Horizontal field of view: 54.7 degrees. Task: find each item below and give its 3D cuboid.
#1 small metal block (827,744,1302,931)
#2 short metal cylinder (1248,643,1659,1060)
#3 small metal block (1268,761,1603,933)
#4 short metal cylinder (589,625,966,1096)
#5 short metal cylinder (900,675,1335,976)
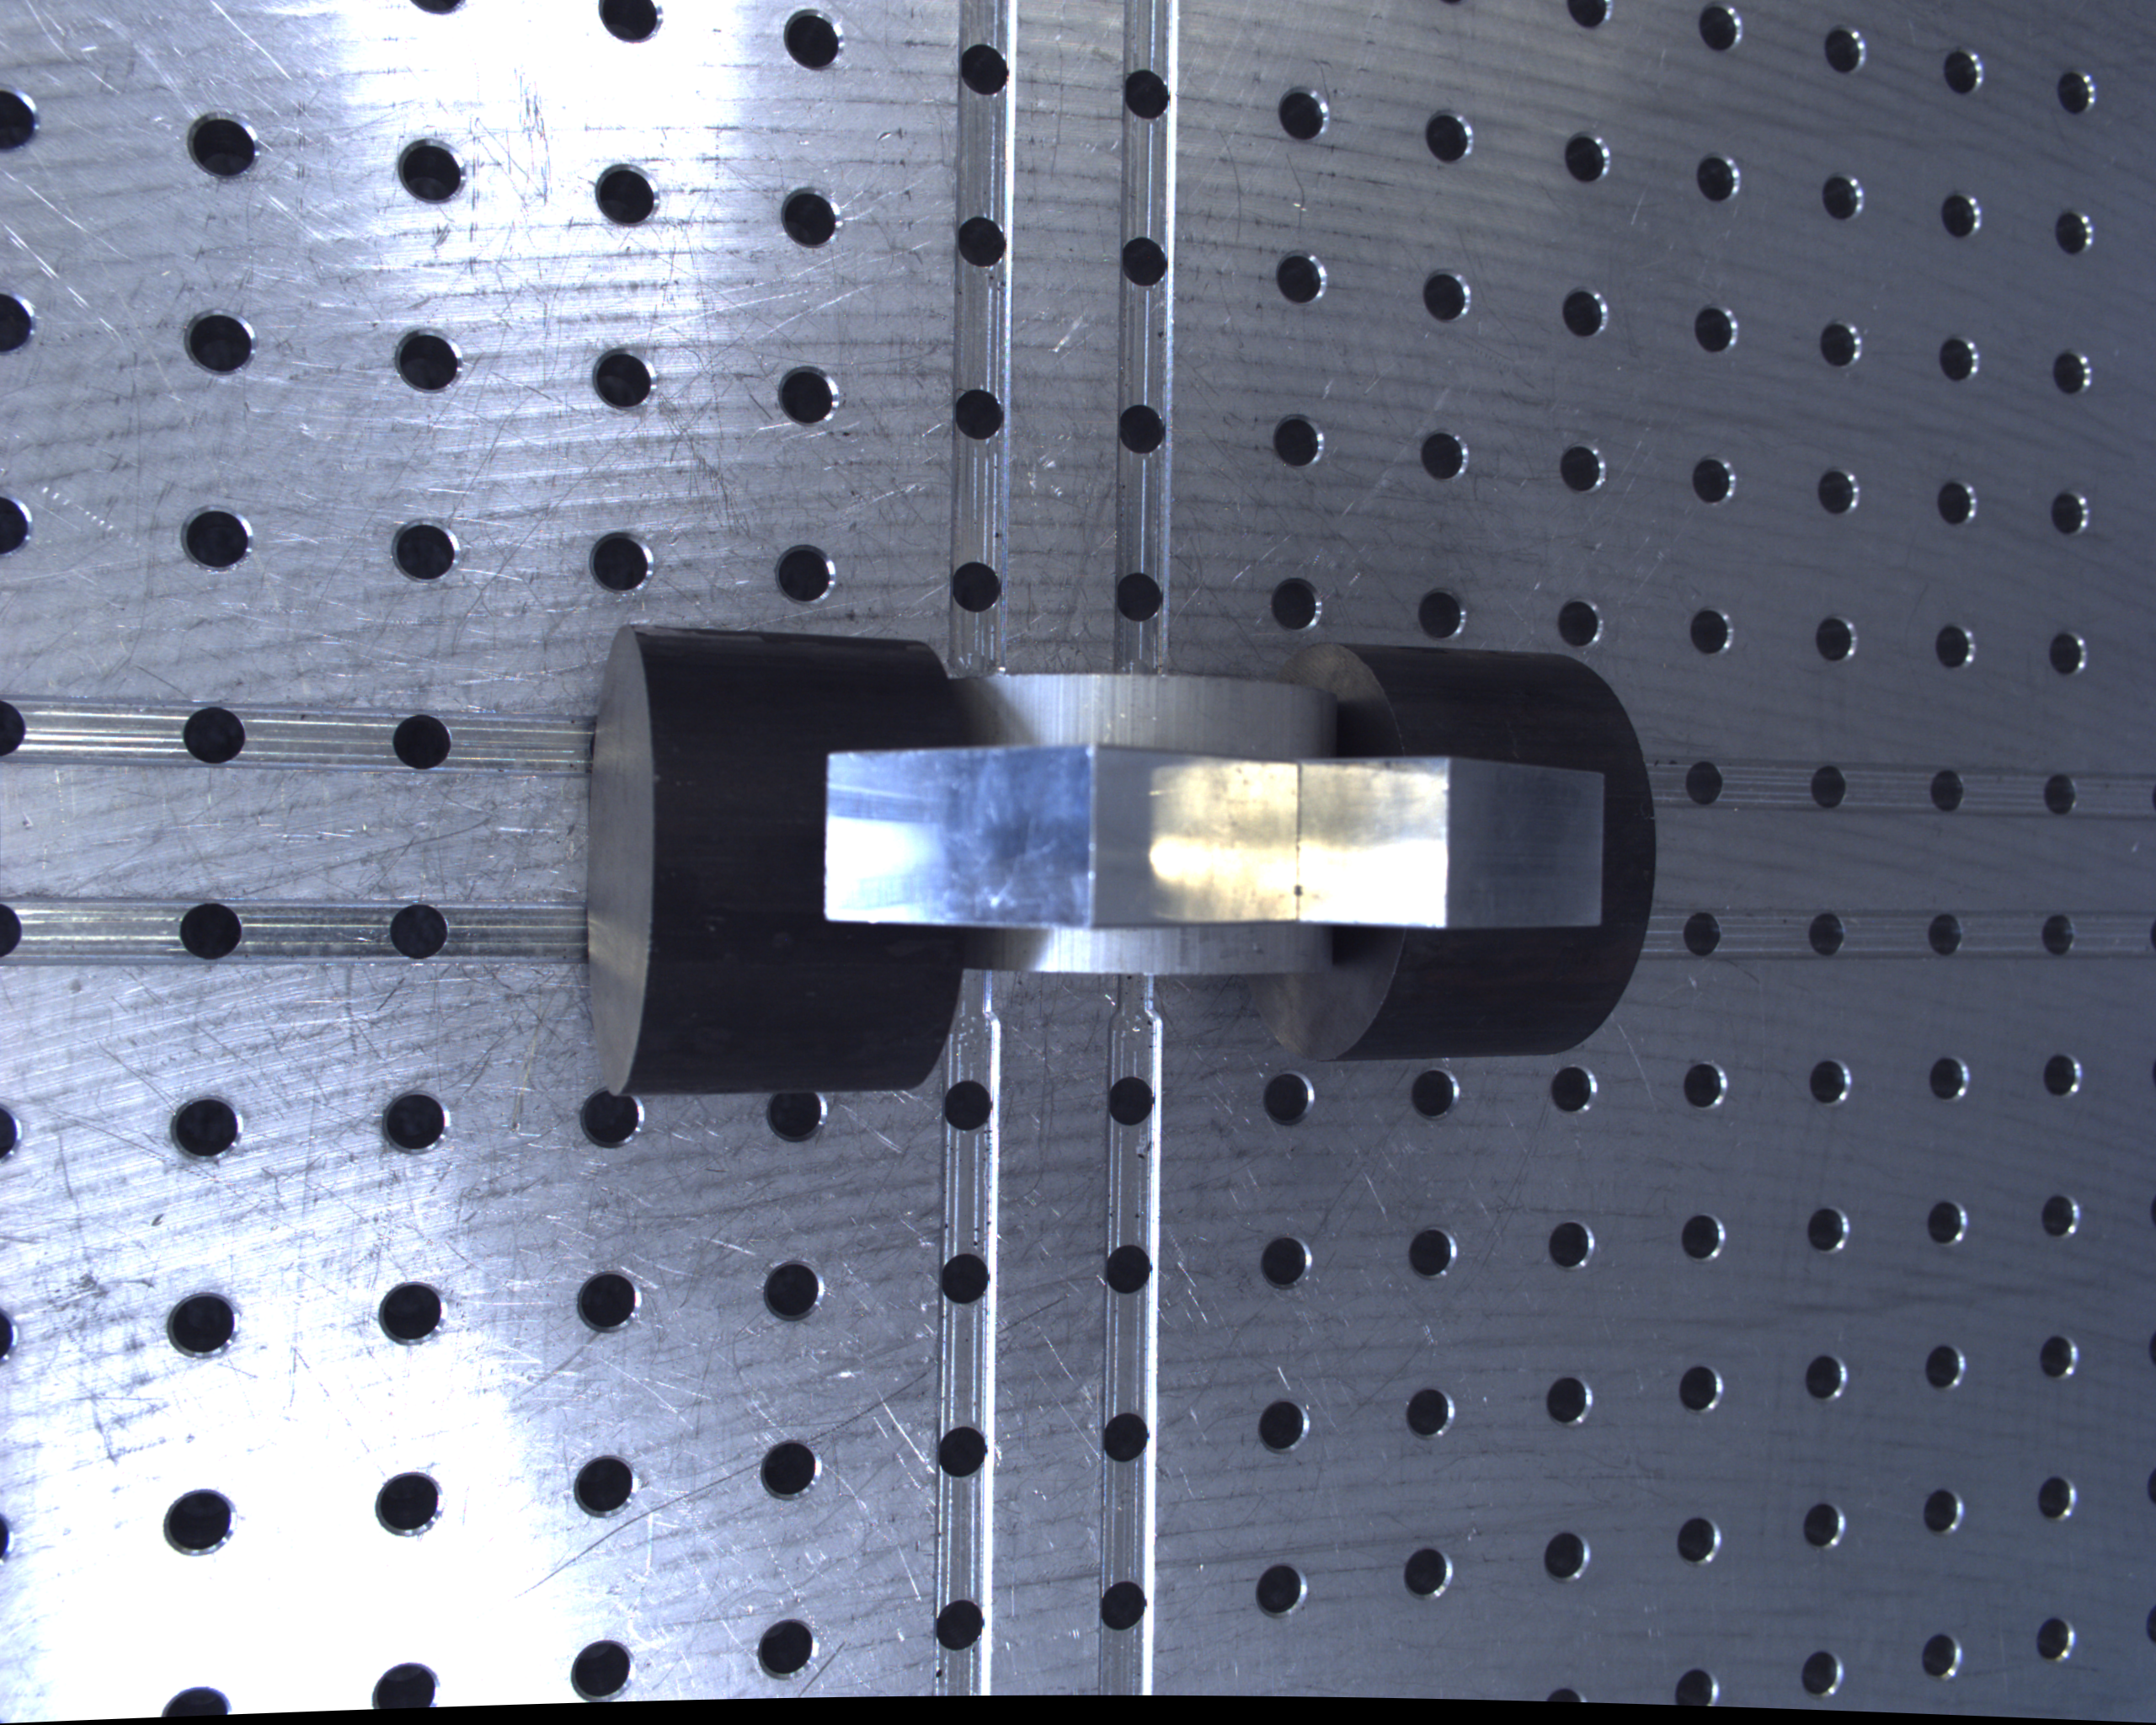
[{"bbox_3d":[-0.001,-0.004,0.312,0.050,0.050,0.025,1,90,-52],"label":"small metal block"},{"bbox_3d":[0.068,-0.002,0.408,0.050,0.080,0.079,1,90,-19],"label":"short metal cylinder"},{"bbox_3d":[0.050,-0.002,0.336,0.050,0.050,0.025,1,90,-51],"label":"small metal block"},{"bbox_3d":[-0.055,0.000,0.363,0.050,0.080,0.080,1,90,-20],"label":"short metal cylinder"},{"bbox_3d":[0.007,-0.006,0.386,0.081,0.080,0.050,1,90,-20],"label":"short metal cylinder"}]
